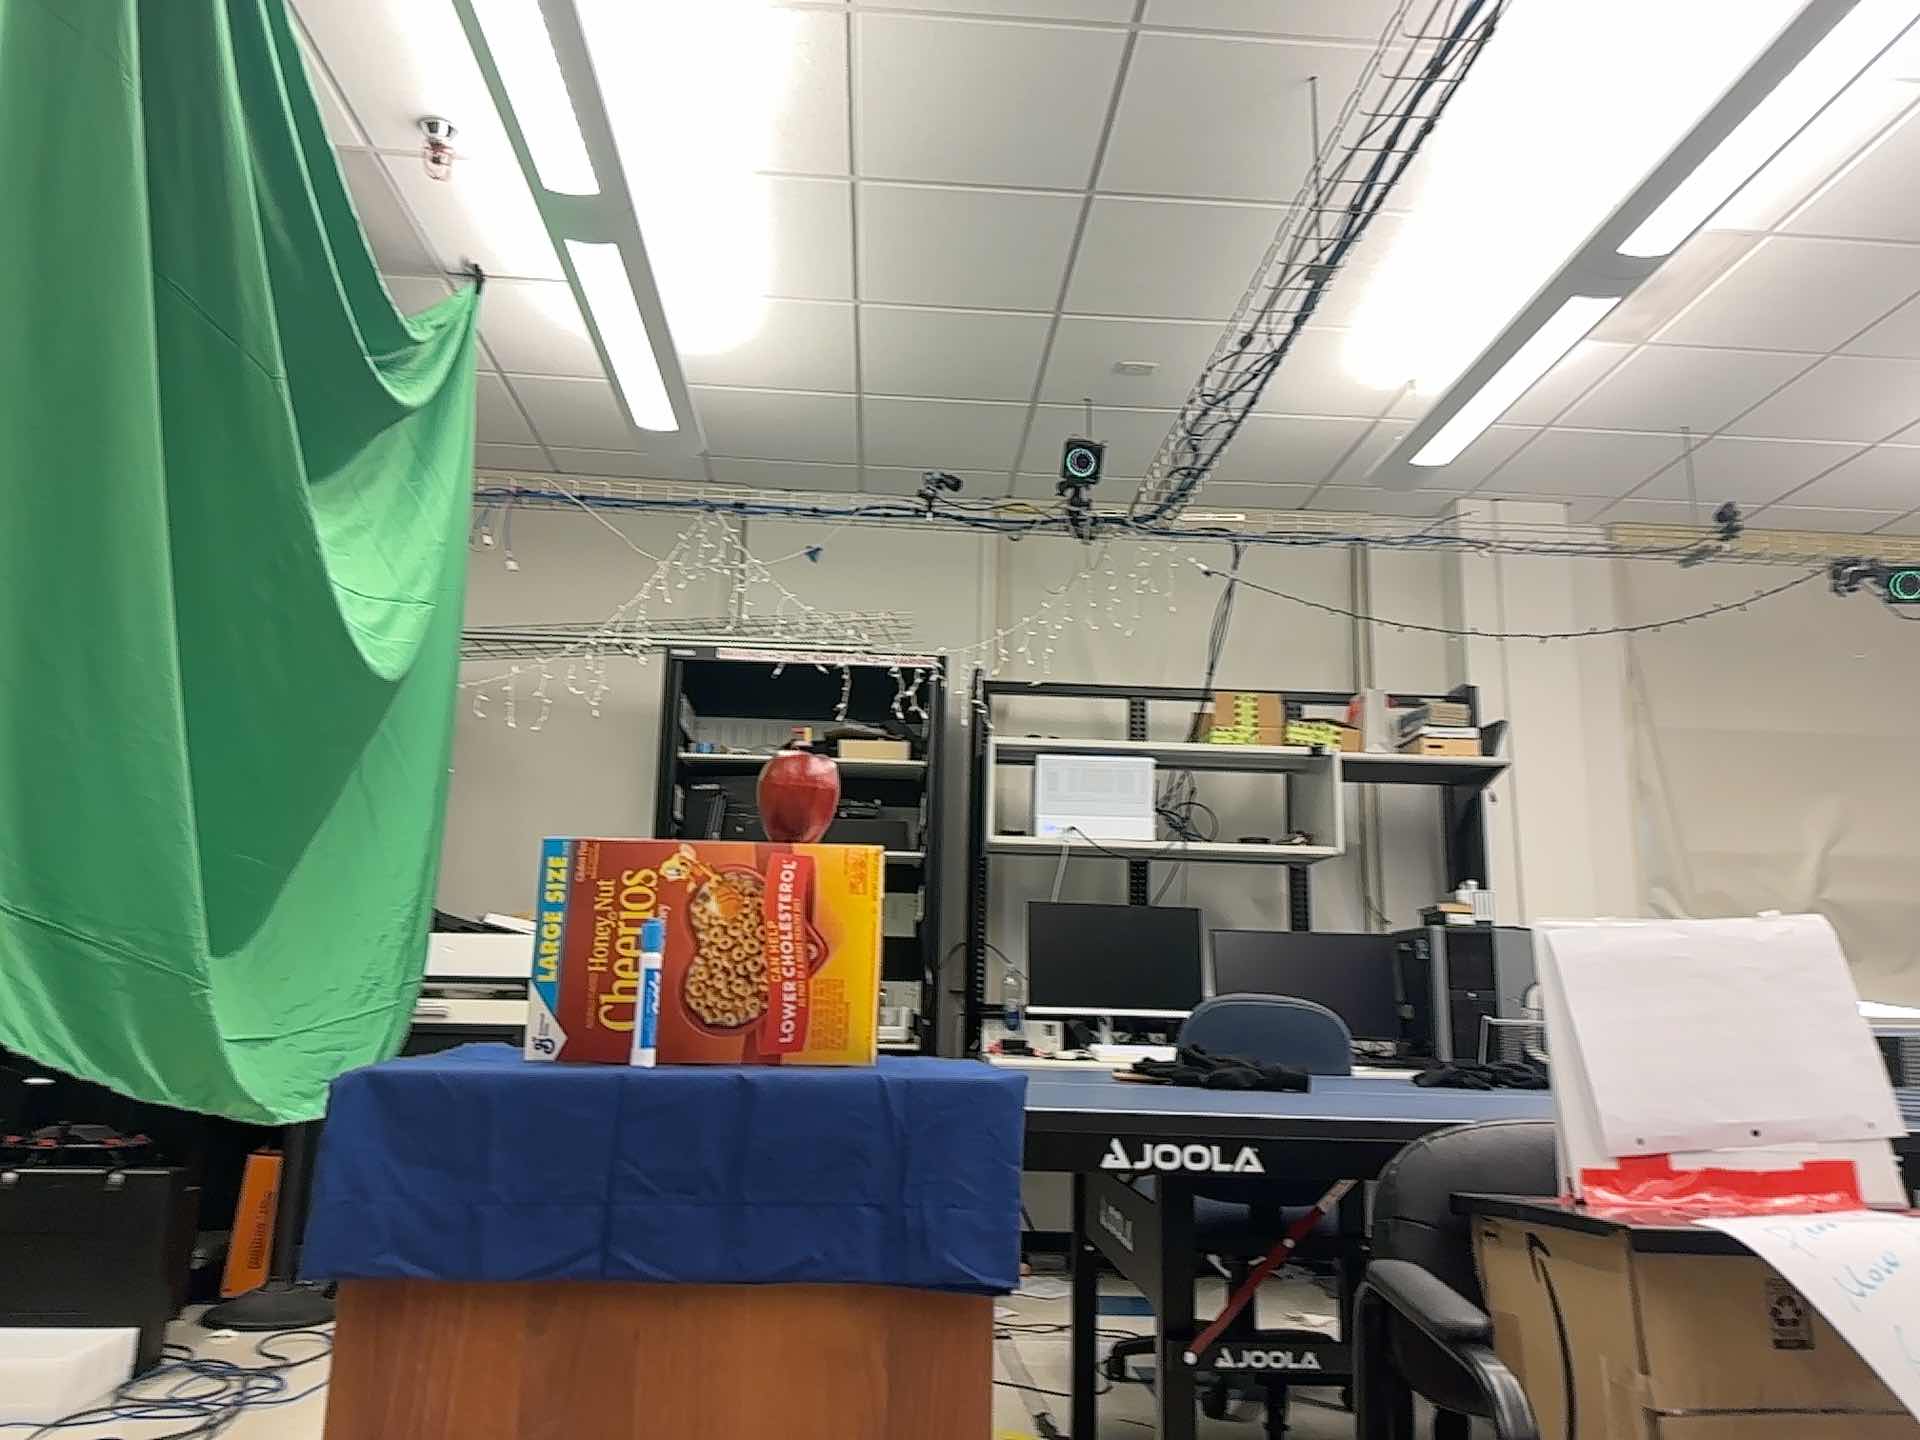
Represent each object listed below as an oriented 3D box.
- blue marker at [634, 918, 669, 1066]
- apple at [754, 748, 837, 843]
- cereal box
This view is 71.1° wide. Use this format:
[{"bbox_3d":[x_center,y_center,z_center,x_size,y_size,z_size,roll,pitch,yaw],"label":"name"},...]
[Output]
[{"bbox_3d":[-0.259,0.227,1.128,0.020,0.121,0.020,1,-15,0],"label":"blue marker"},{"bbox_3d":[-0.155,0.072,1.266,0.079,0.093,0.079,3,-13,1],"label":"apple"},{"bbox_3d":[-0.225,0.212,1.227,0.297,0.195,0.065,3,-15,-4],"label":"cereal box"}]
